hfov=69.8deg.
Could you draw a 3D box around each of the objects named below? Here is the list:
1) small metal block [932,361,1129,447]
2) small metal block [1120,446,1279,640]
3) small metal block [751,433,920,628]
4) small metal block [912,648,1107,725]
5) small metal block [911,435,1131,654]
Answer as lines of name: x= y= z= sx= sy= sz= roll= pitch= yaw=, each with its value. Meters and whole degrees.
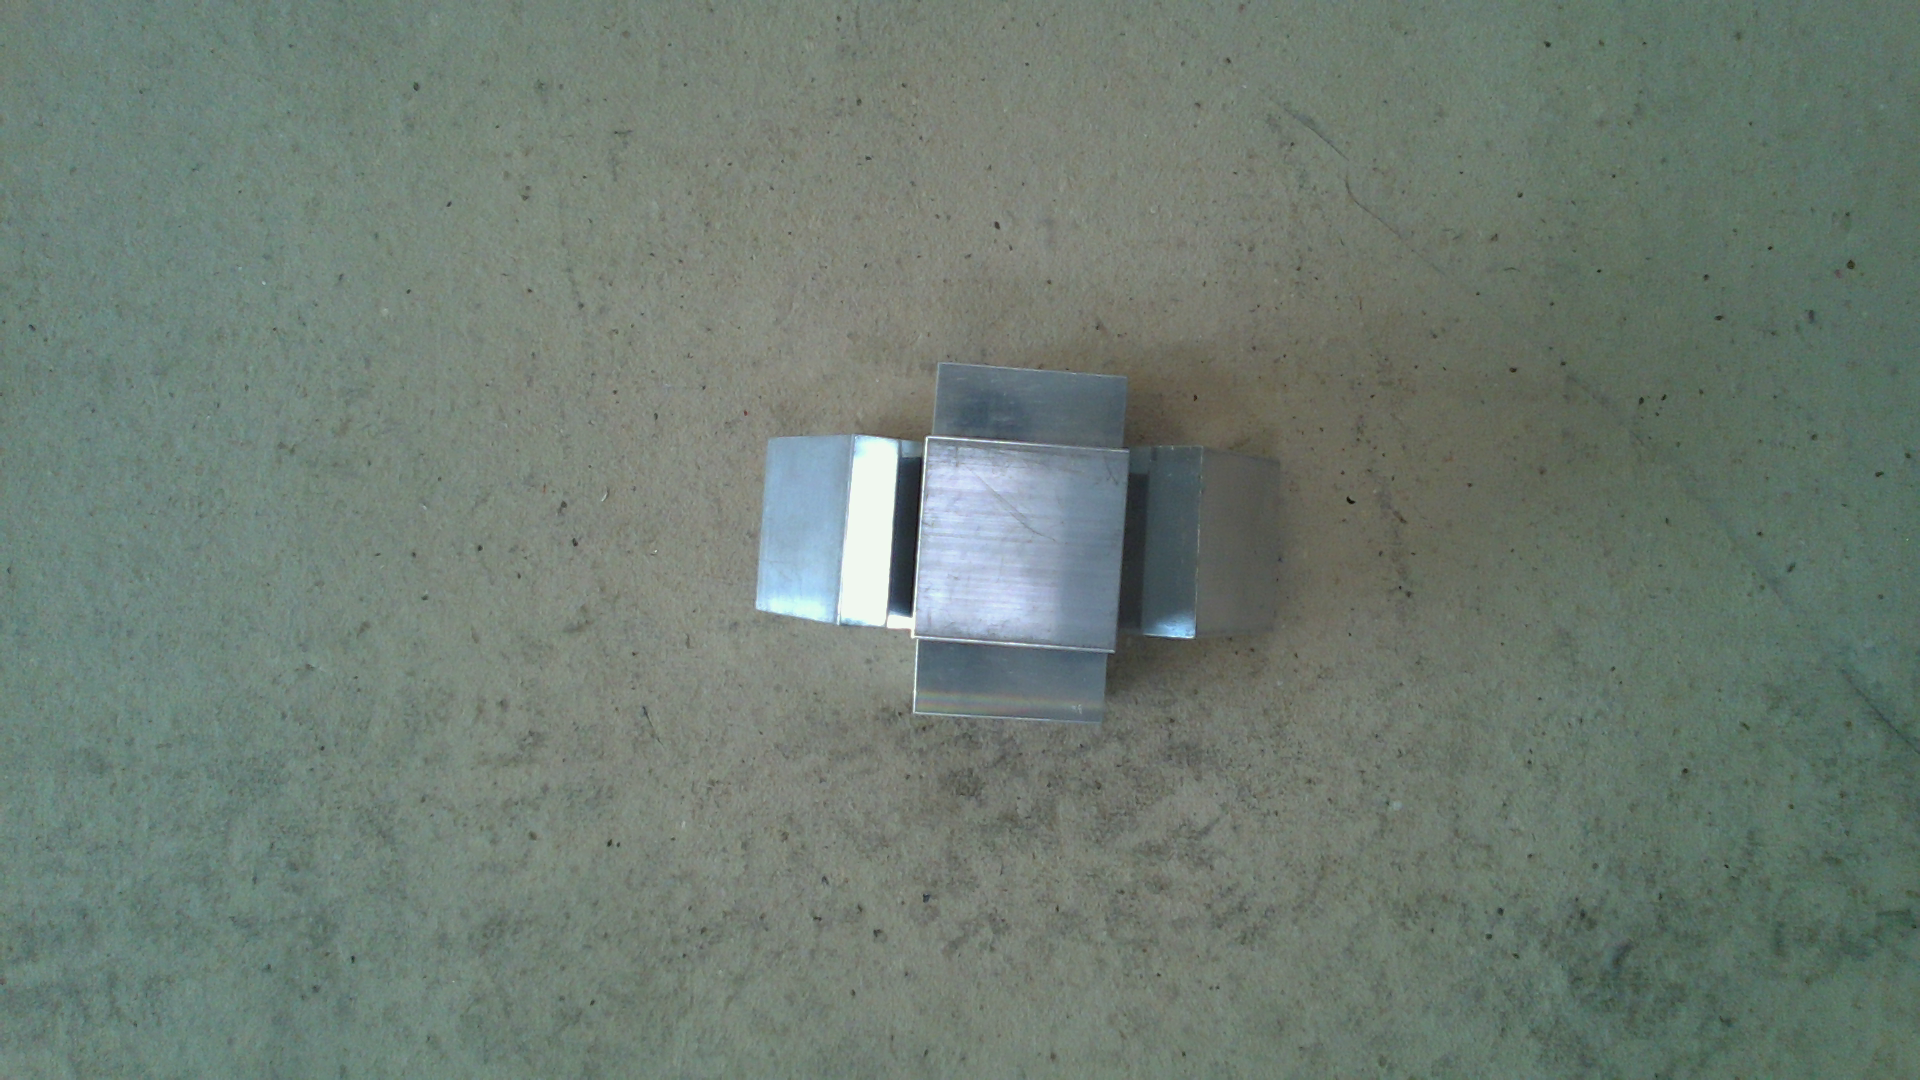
small metal block: x=0.018 y=-0.033 z=0.383 sx=0.050 sy=0.050 sz=0.025 roll=5 pitch=91 yaw=0
small metal block: x=0.066 y=0.001 z=0.381 sx=0.025 sy=0.050 sz=0.050 roll=2 pitch=91 yaw=35
small metal block: x=-0.034 y=-0.003 z=0.381 sx=0.025 sy=0.050 sz=0.050 roll=4 pitch=91 yaw=-35
small metal block: x=0.013 y=0.034 z=0.384 sx=0.050 sy=0.050 sz=0.025 roll=3 pitch=91 yaw=0
small metal block: x=0.015 y=0.001 z=0.346 sx=0.050 sy=0.025 sz=0.050 roll=4 pitch=90 yaw=0
